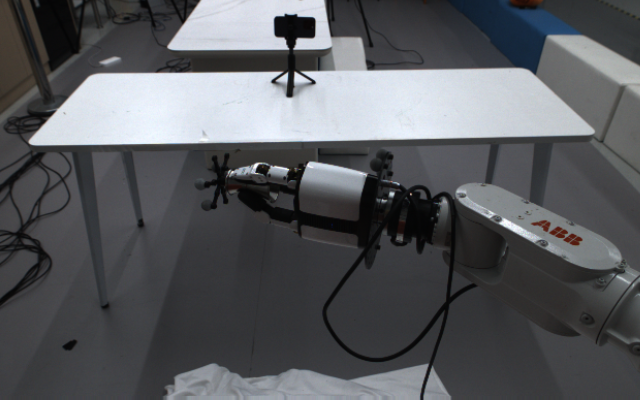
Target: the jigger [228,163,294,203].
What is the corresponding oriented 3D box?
[{"bbox_3d":[-0.091,-0.026,0.693,0.071,0.043,0.043,8,35,14],"label":"jigger"}]
